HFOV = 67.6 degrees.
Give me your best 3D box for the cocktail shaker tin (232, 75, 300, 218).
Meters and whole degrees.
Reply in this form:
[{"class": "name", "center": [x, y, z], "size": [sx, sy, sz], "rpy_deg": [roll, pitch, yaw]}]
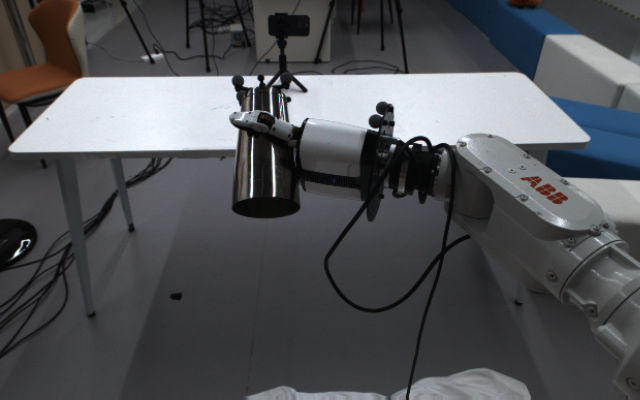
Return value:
[{"class": "cocktail shaker tin", "center": [-0.077, -0.068, 0.677], "size": [0.093, 0.093, 0.170], "rpy_deg": [-2, 71, -6]}]
